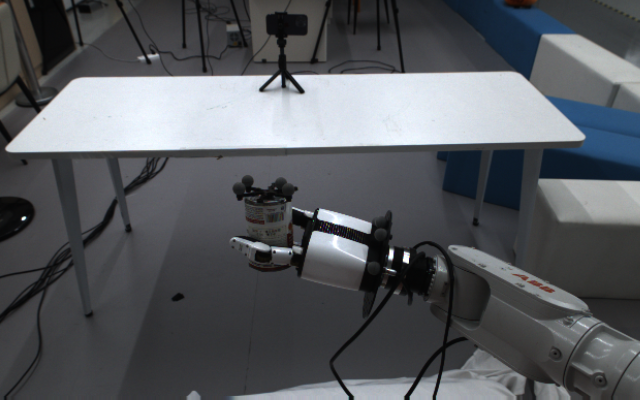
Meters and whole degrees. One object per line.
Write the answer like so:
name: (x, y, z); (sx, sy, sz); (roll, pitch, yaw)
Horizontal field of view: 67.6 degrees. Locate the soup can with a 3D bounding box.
soup can: (-0.070, 0.043, 0.688); (0.067, 0.101, 0.067); (-2, 17, 0)
